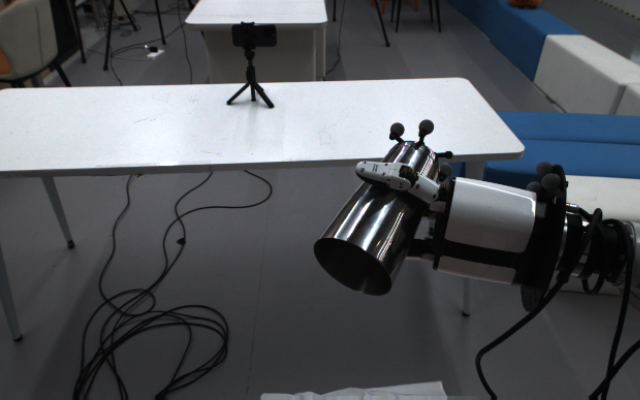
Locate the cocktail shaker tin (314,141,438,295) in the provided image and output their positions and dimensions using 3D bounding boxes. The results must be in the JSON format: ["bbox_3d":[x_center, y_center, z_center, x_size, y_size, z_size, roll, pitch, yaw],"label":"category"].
[{"bbox_3d":[0.077,0.007,0.543,0.093,0.093,0.170,19,55,22],"label":"cocktail shaker tin"}]
